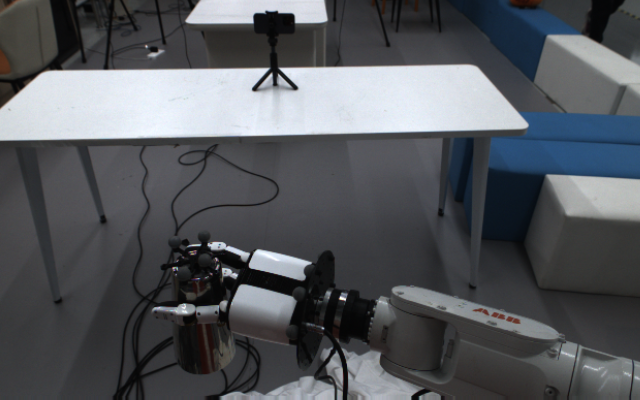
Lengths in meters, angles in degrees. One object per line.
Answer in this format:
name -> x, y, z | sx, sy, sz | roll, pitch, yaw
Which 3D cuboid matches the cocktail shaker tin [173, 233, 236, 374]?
cocktail shaker tin -> -0.170, 0.156, 0.698 | 0.093, 0.170, 0.093 | 3, 33, -2
